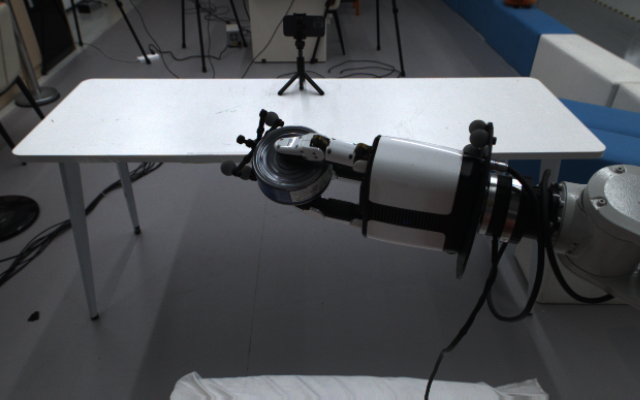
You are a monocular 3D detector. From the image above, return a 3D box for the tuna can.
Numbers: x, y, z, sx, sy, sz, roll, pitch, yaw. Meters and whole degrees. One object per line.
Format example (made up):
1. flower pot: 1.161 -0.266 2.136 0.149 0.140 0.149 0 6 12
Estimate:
1. tuna can: -0.027 -0.040 0.531 0.085 0.034 0.085 -1 60 2
